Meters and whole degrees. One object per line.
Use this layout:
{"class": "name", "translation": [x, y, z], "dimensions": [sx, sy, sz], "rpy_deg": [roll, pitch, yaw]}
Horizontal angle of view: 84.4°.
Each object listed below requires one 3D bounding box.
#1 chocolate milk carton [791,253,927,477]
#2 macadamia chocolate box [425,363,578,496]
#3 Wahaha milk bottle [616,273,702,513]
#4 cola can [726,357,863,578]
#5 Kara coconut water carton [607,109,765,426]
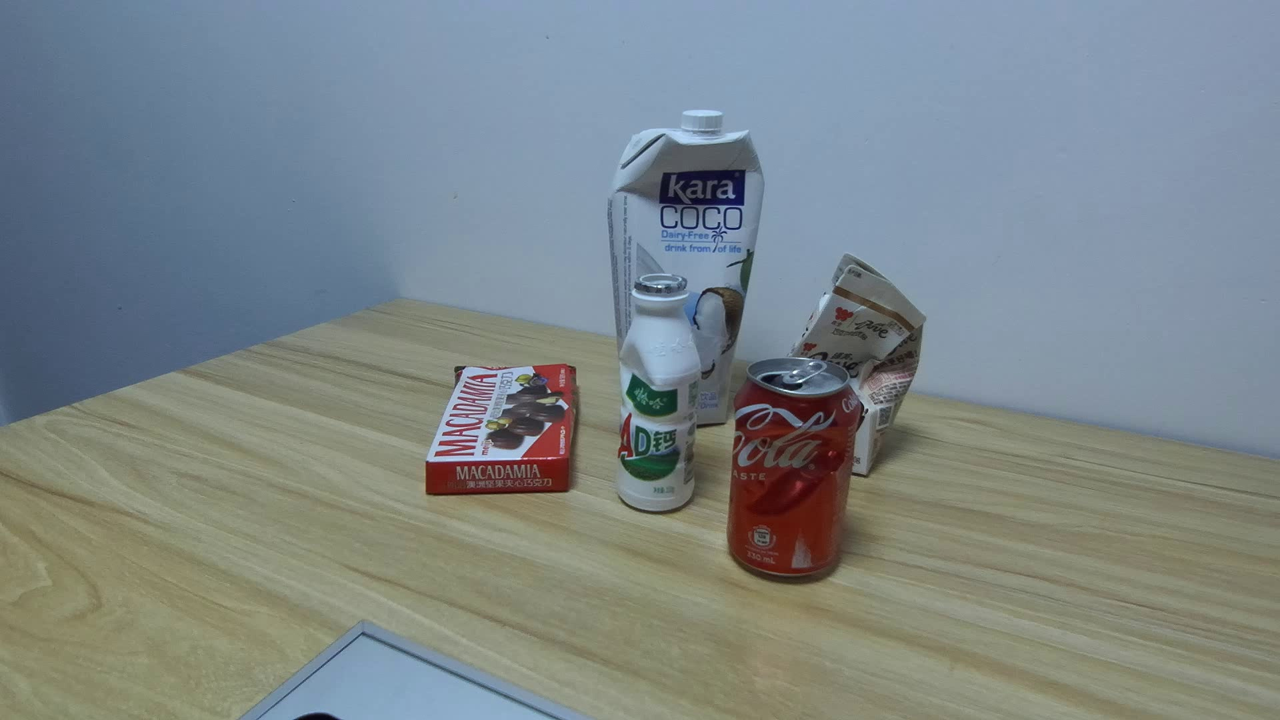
{"class": "chocolate milk carton", "translation": [0.149, 0.003, 0.501], "dimensions": [0.089, 0.155, 0.077], "rpy_deg": [22, 29, 13]}
{"class": "macadamia chocolate box", "translation": [-0.101, 0.045, 0.547], "dimensions": [0.106, 0.028, 0.182], "rpy_deg": [-1, 21, -6]}
{"class": "Wahaha milk bottle", "translation": [0.010, 0.021, 0.439], "dimensions": [0.056, 0.148, 0.056], "rpy_deg": [1, 23, 0]}
{"class": "cola can", "translation": [0.083, 0.058, 0.391], "dimensions": [0.066, 0.117, 0.066], "rpy_deg": [8, 21, 19]}
{"class": "Kara coconut water carton", "translation": [0.032, -0.067, 0.544], "dimensions": [0.115, 0.238, 0.069], "rpy_deg": [-4, 20, -20]}
